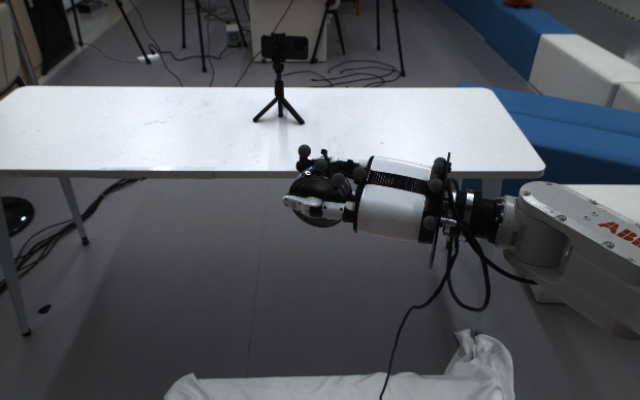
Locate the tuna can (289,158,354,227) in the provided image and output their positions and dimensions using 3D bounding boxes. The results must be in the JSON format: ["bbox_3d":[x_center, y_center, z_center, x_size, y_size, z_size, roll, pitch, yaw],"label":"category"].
[{"bbox_3d":[0.004,-0.006,0.681,0.085,0.085,0.034,12,33,14],"label":"tuna can"}]
